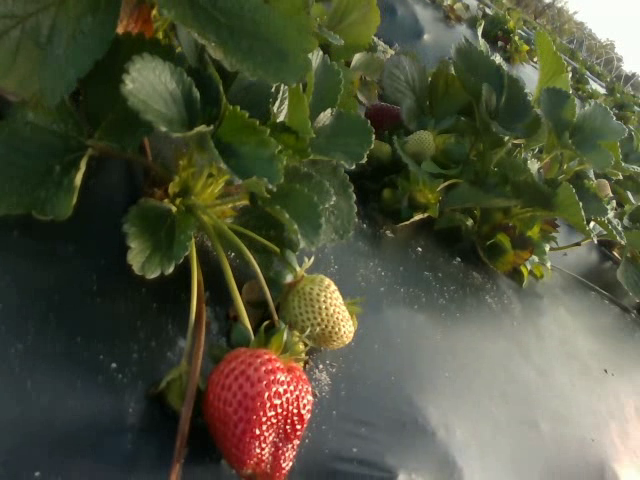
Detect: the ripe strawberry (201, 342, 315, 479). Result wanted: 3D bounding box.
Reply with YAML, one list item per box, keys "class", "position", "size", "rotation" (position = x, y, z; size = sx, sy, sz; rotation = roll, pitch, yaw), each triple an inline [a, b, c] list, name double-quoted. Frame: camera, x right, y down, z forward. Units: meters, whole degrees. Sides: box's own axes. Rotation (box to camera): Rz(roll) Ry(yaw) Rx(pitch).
- class: "ripe strawberry"
  position: [-0.017, 0.065, 0.216]
  size: [0.048, 0.050, 0.034]
  rotation: [20, -32, -30]
